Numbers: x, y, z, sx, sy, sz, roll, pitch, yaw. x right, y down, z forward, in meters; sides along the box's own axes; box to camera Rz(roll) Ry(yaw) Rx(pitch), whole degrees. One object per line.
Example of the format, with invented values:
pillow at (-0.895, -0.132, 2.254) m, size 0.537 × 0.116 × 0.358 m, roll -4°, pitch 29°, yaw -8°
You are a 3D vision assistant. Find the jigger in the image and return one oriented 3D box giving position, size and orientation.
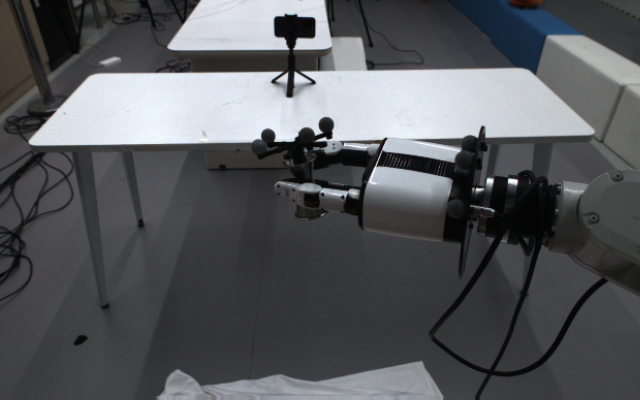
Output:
jigger at (-0.015, -0.016, 0.562) m, size 0.043 × 0.071 × 0.043 m, roll -11°, pitch 24°, yaw 5°
